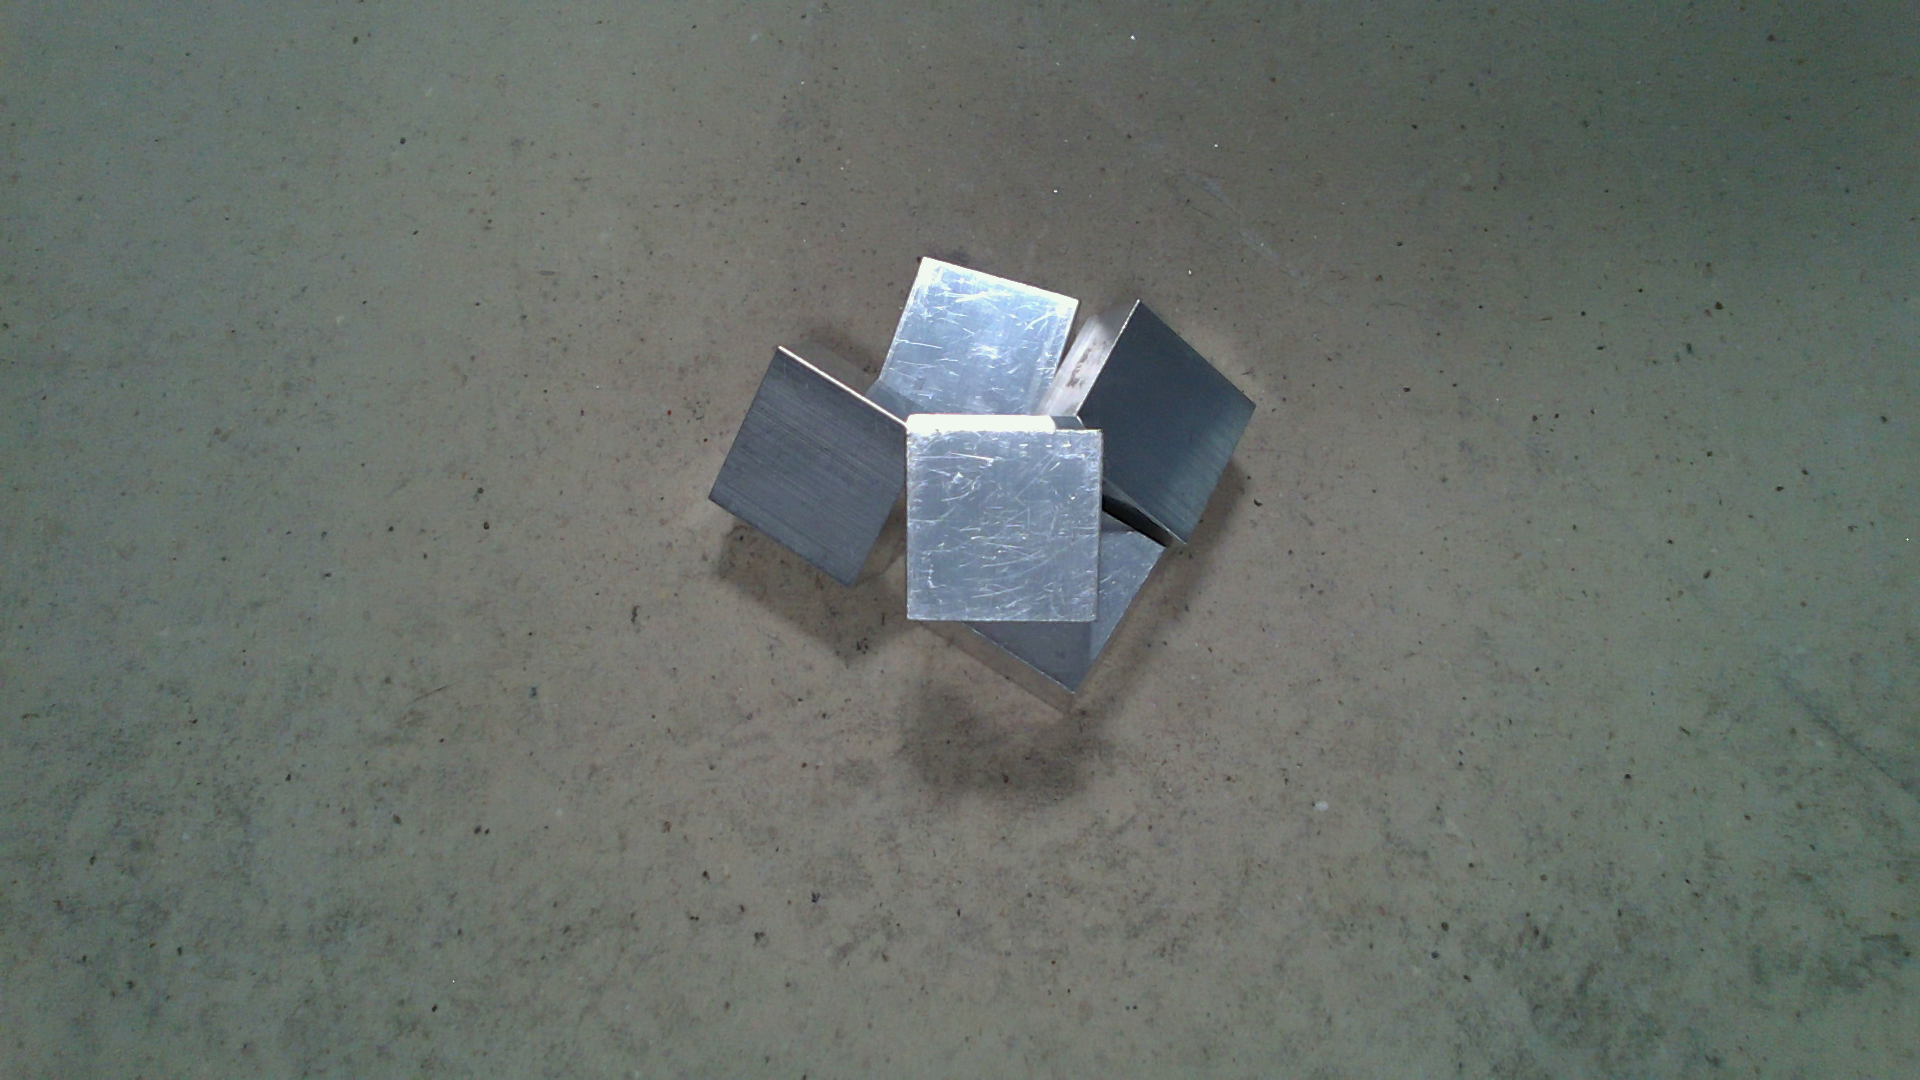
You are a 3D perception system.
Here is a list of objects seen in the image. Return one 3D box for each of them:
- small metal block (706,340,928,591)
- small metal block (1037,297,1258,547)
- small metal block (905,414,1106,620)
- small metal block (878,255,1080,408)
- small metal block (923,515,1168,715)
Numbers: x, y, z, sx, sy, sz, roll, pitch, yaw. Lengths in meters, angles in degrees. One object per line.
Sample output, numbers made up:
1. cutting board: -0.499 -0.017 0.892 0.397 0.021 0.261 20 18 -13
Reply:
1. small metal block: -0.036 -0.022 0.390 0.050 0.025 0.050 32 109 10
2. small metal block: 0.051 -0.032 0.395 0.050 0.025 0.050 37 71 -22
3. small metal block: 0.011 -0.007 0.359 0.050 0.025 0.050 0 102 0
4. small metal block: 0.004 -0.052 0.414 0.050 0.025 0.050 16 71 6
5. small metal block: 0.023 0.013 0.390 0.050 0.025 0.050 31 73 11
